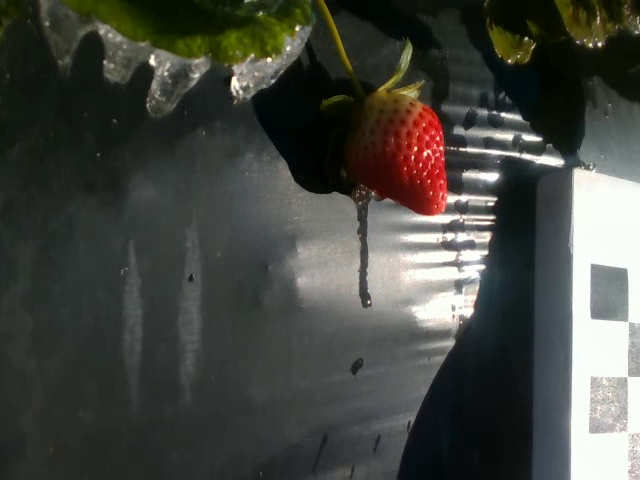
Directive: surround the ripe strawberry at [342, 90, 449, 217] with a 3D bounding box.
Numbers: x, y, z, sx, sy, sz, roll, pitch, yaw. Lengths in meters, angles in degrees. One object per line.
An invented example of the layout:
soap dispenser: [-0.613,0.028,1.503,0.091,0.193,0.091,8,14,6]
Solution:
ripe strawberry: [0.030,-0.028,0.211,0.039,0.053,0.040,-17,-13,-28]
